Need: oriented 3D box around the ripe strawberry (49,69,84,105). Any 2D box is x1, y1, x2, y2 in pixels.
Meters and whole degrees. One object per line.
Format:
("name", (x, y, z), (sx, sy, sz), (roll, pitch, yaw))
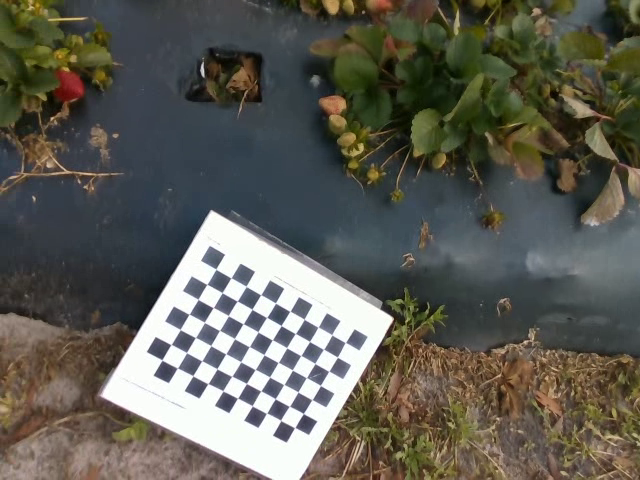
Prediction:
("ripe strawberry", (-0.324, -0.196, 0.780), (0.046, 0.043, 0.046), (27, -5, 18))
